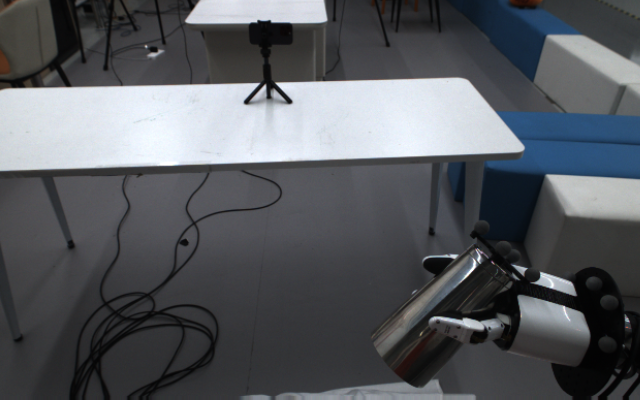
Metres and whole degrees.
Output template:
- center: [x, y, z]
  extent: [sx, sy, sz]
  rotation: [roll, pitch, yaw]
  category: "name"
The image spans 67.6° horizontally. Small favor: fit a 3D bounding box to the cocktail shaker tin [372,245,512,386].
- center: [0.153, 0.131, 0.595]
  extent: [0.093, 0.170, 0.093]
  rotation: [41, 12, -11]
  category: "cocktail shaker tin"
